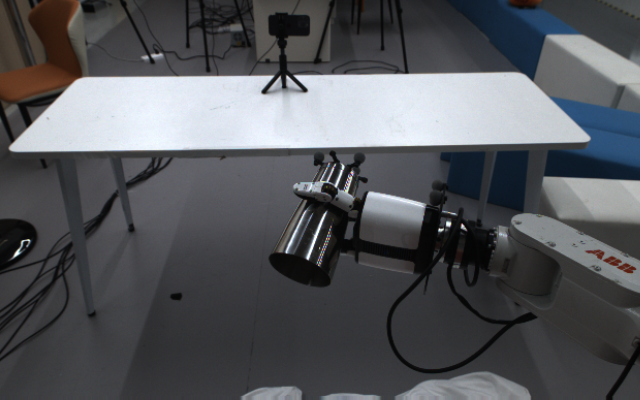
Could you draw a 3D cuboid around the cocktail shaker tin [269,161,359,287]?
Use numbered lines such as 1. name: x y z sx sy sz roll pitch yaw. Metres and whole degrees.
1. cocktail shaker tin: -0.001 0.027 0.699 0.093 0.093 0.170 14 57 16
